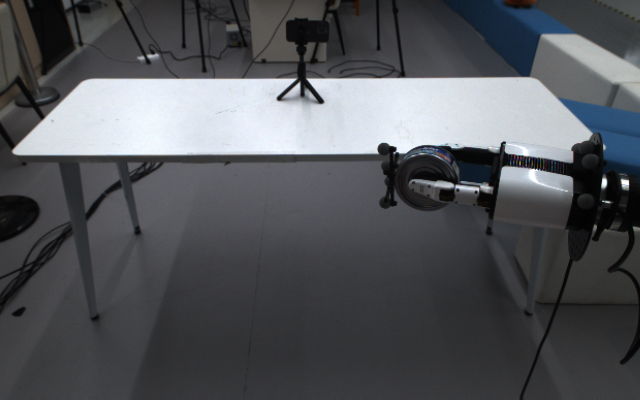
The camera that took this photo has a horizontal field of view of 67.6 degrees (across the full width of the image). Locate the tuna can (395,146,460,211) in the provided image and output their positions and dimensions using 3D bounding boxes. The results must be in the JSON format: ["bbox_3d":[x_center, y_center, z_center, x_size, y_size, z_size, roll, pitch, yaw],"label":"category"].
[{"bbox_3d":[0.146,-0.035,0.654,0.085,0.085,0.034,12,28,14],"label":"tuna can"}]
